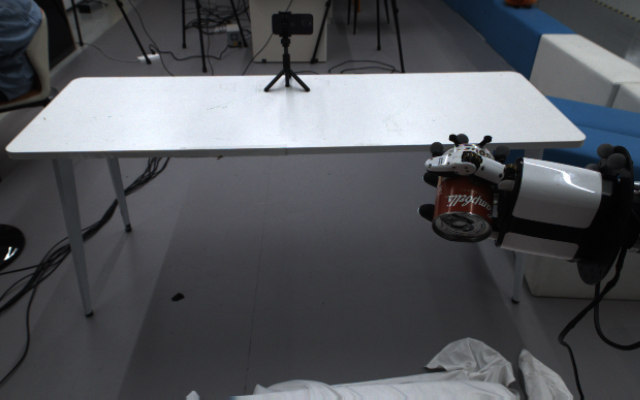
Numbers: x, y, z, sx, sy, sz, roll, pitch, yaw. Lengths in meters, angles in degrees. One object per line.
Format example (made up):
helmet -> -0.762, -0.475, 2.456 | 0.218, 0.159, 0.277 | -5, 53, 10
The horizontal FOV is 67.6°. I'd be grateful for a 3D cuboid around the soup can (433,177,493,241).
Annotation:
soup can -> 0.176, -0.010, 0.581 | 0.067, 0.067, 0.101 | 9, 58, 10
